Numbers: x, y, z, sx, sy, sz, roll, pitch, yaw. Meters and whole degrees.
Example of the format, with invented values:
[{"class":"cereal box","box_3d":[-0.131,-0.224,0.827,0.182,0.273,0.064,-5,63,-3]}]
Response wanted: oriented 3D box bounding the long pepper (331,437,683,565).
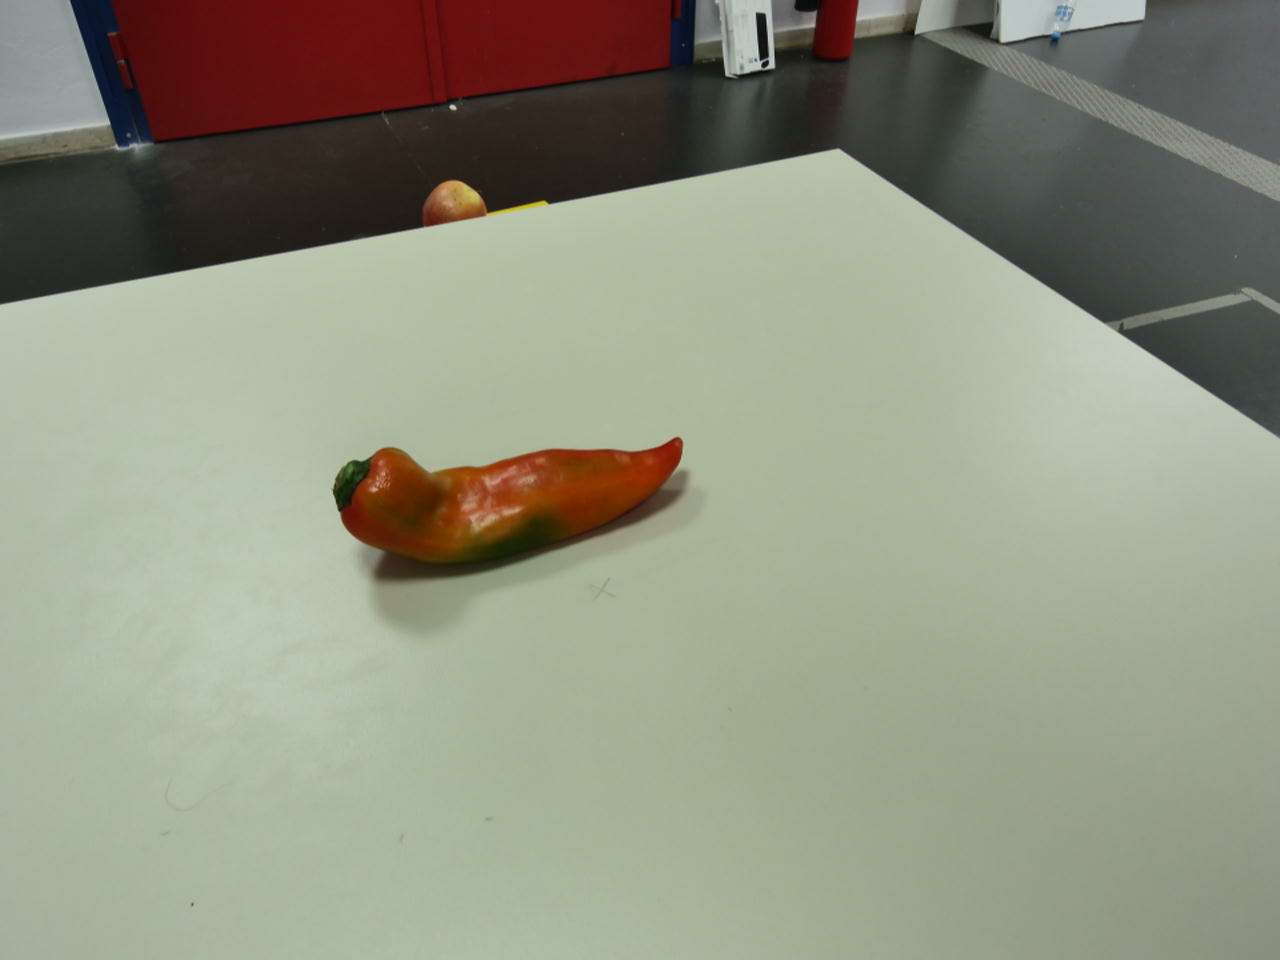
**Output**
[{"class":"long pepper","box_3d":[-0.066,-0.001,0.554,0.199,0.065,0.066,-12,41,-16]}]
